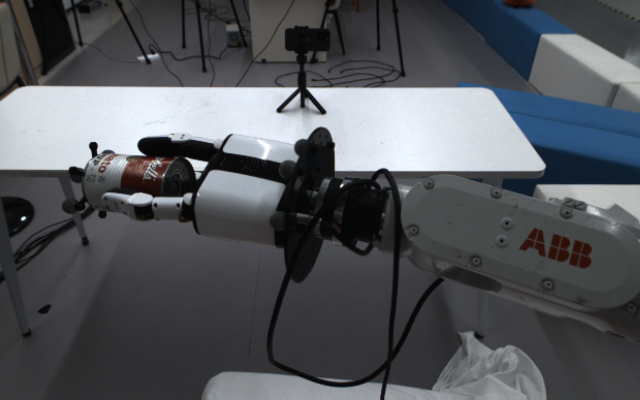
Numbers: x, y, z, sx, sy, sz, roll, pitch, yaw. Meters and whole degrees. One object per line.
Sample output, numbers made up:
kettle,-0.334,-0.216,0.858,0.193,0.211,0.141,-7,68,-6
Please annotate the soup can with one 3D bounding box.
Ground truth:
soup can,-0.198,-0.015,0.539,0.101,0.067,0.067,5,34,14
